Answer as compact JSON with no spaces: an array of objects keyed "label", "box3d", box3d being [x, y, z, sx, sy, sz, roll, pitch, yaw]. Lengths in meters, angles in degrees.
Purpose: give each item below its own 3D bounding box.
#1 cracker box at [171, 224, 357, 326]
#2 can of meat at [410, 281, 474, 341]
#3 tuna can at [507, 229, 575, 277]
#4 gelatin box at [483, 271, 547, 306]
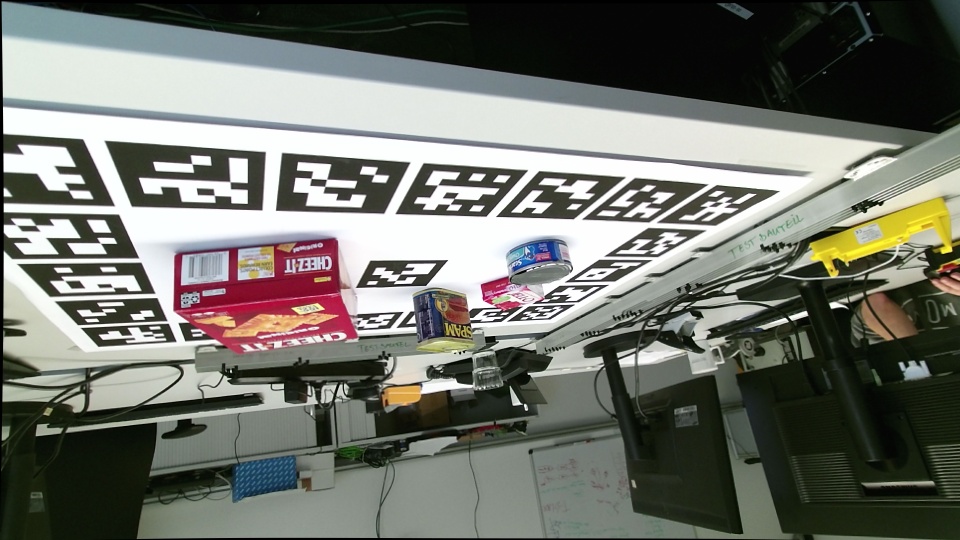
[{"label":"cracker box","box3d":[-0.244,0.021,0.651,0.165,0.071,0.214,-5,161,-8]},{"label":"can of meat","box3d":[-0.061,0.065,0.838,0.058,0.083,0.102,-22,157,32]},{"label":"tuna can","box3d":[0.081,-0.021,0.715,0.086,0.033,0.086,-10,157,-4]},{"label":"gelatin box","box3d":[0.057,0.029,0.851,0.073,0.030,0.089,-15,157,22]}]
